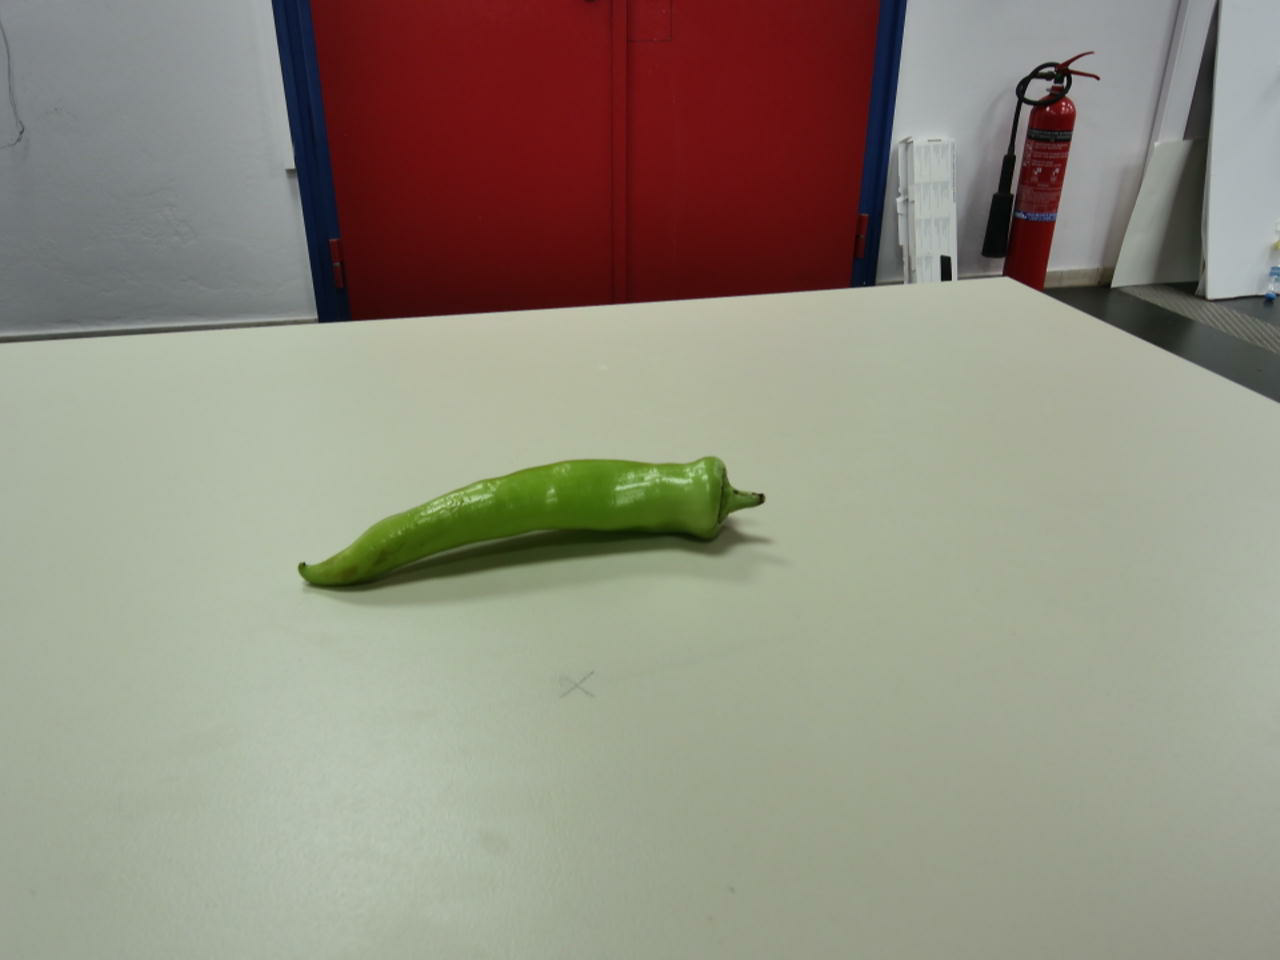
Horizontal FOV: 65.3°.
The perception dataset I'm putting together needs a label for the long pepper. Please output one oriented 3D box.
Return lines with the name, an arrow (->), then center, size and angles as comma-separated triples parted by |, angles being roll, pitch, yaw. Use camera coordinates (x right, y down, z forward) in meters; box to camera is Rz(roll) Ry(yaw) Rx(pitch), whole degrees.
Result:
long pepper -> -0.045, 0.013, 0.428 | 0.197, 0.038, 0.046 | -5, 25, -10
